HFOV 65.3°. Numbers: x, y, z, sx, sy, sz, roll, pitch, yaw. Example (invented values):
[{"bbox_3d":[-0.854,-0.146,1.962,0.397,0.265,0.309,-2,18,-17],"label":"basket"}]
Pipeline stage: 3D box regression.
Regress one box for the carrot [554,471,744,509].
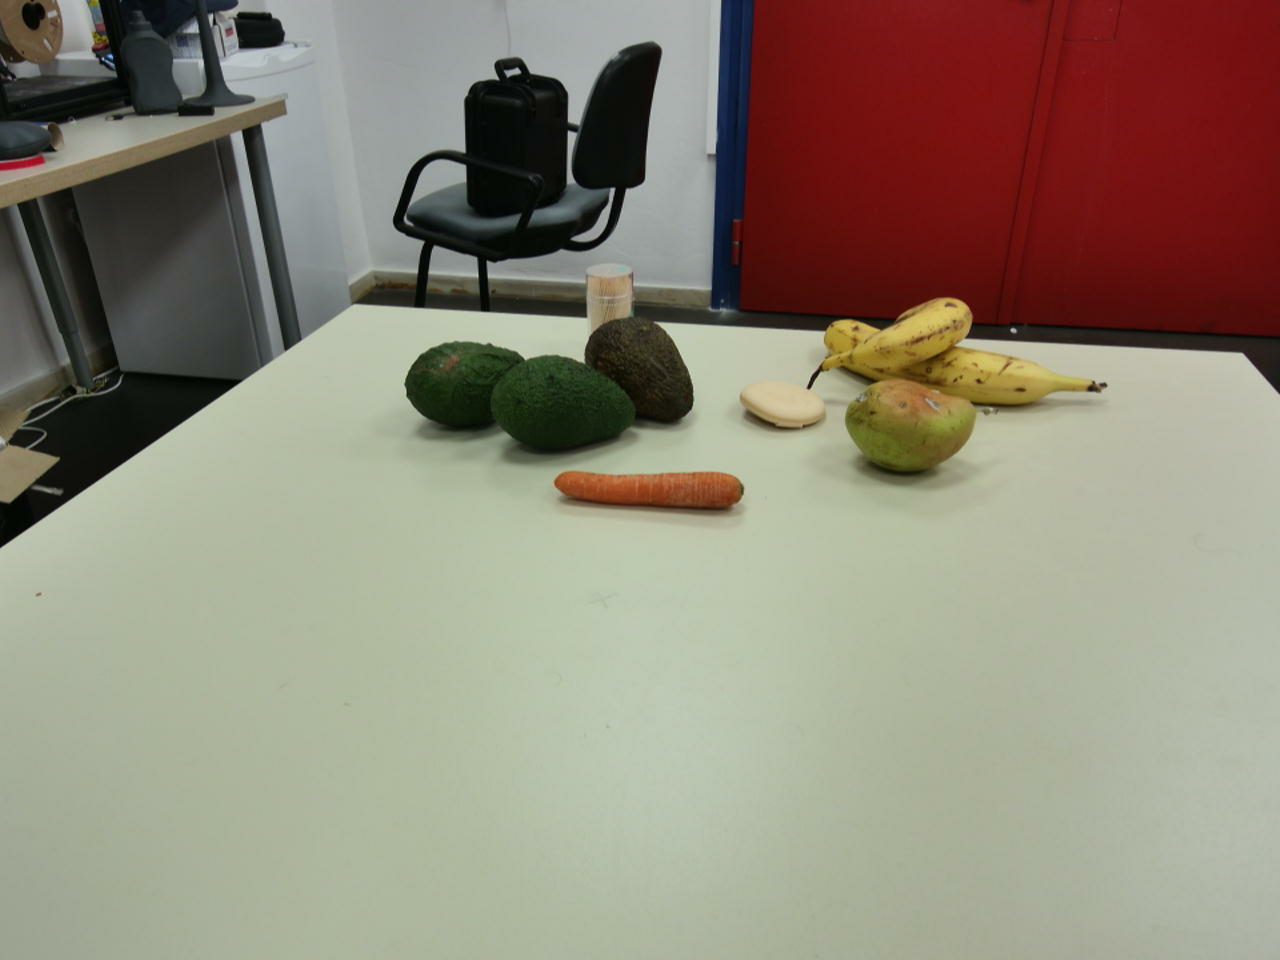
[{"bbox_3d":[0.005,0.004,0.636,0.122,0.023,0.024,4,26,8],"label":"carrot"}]
